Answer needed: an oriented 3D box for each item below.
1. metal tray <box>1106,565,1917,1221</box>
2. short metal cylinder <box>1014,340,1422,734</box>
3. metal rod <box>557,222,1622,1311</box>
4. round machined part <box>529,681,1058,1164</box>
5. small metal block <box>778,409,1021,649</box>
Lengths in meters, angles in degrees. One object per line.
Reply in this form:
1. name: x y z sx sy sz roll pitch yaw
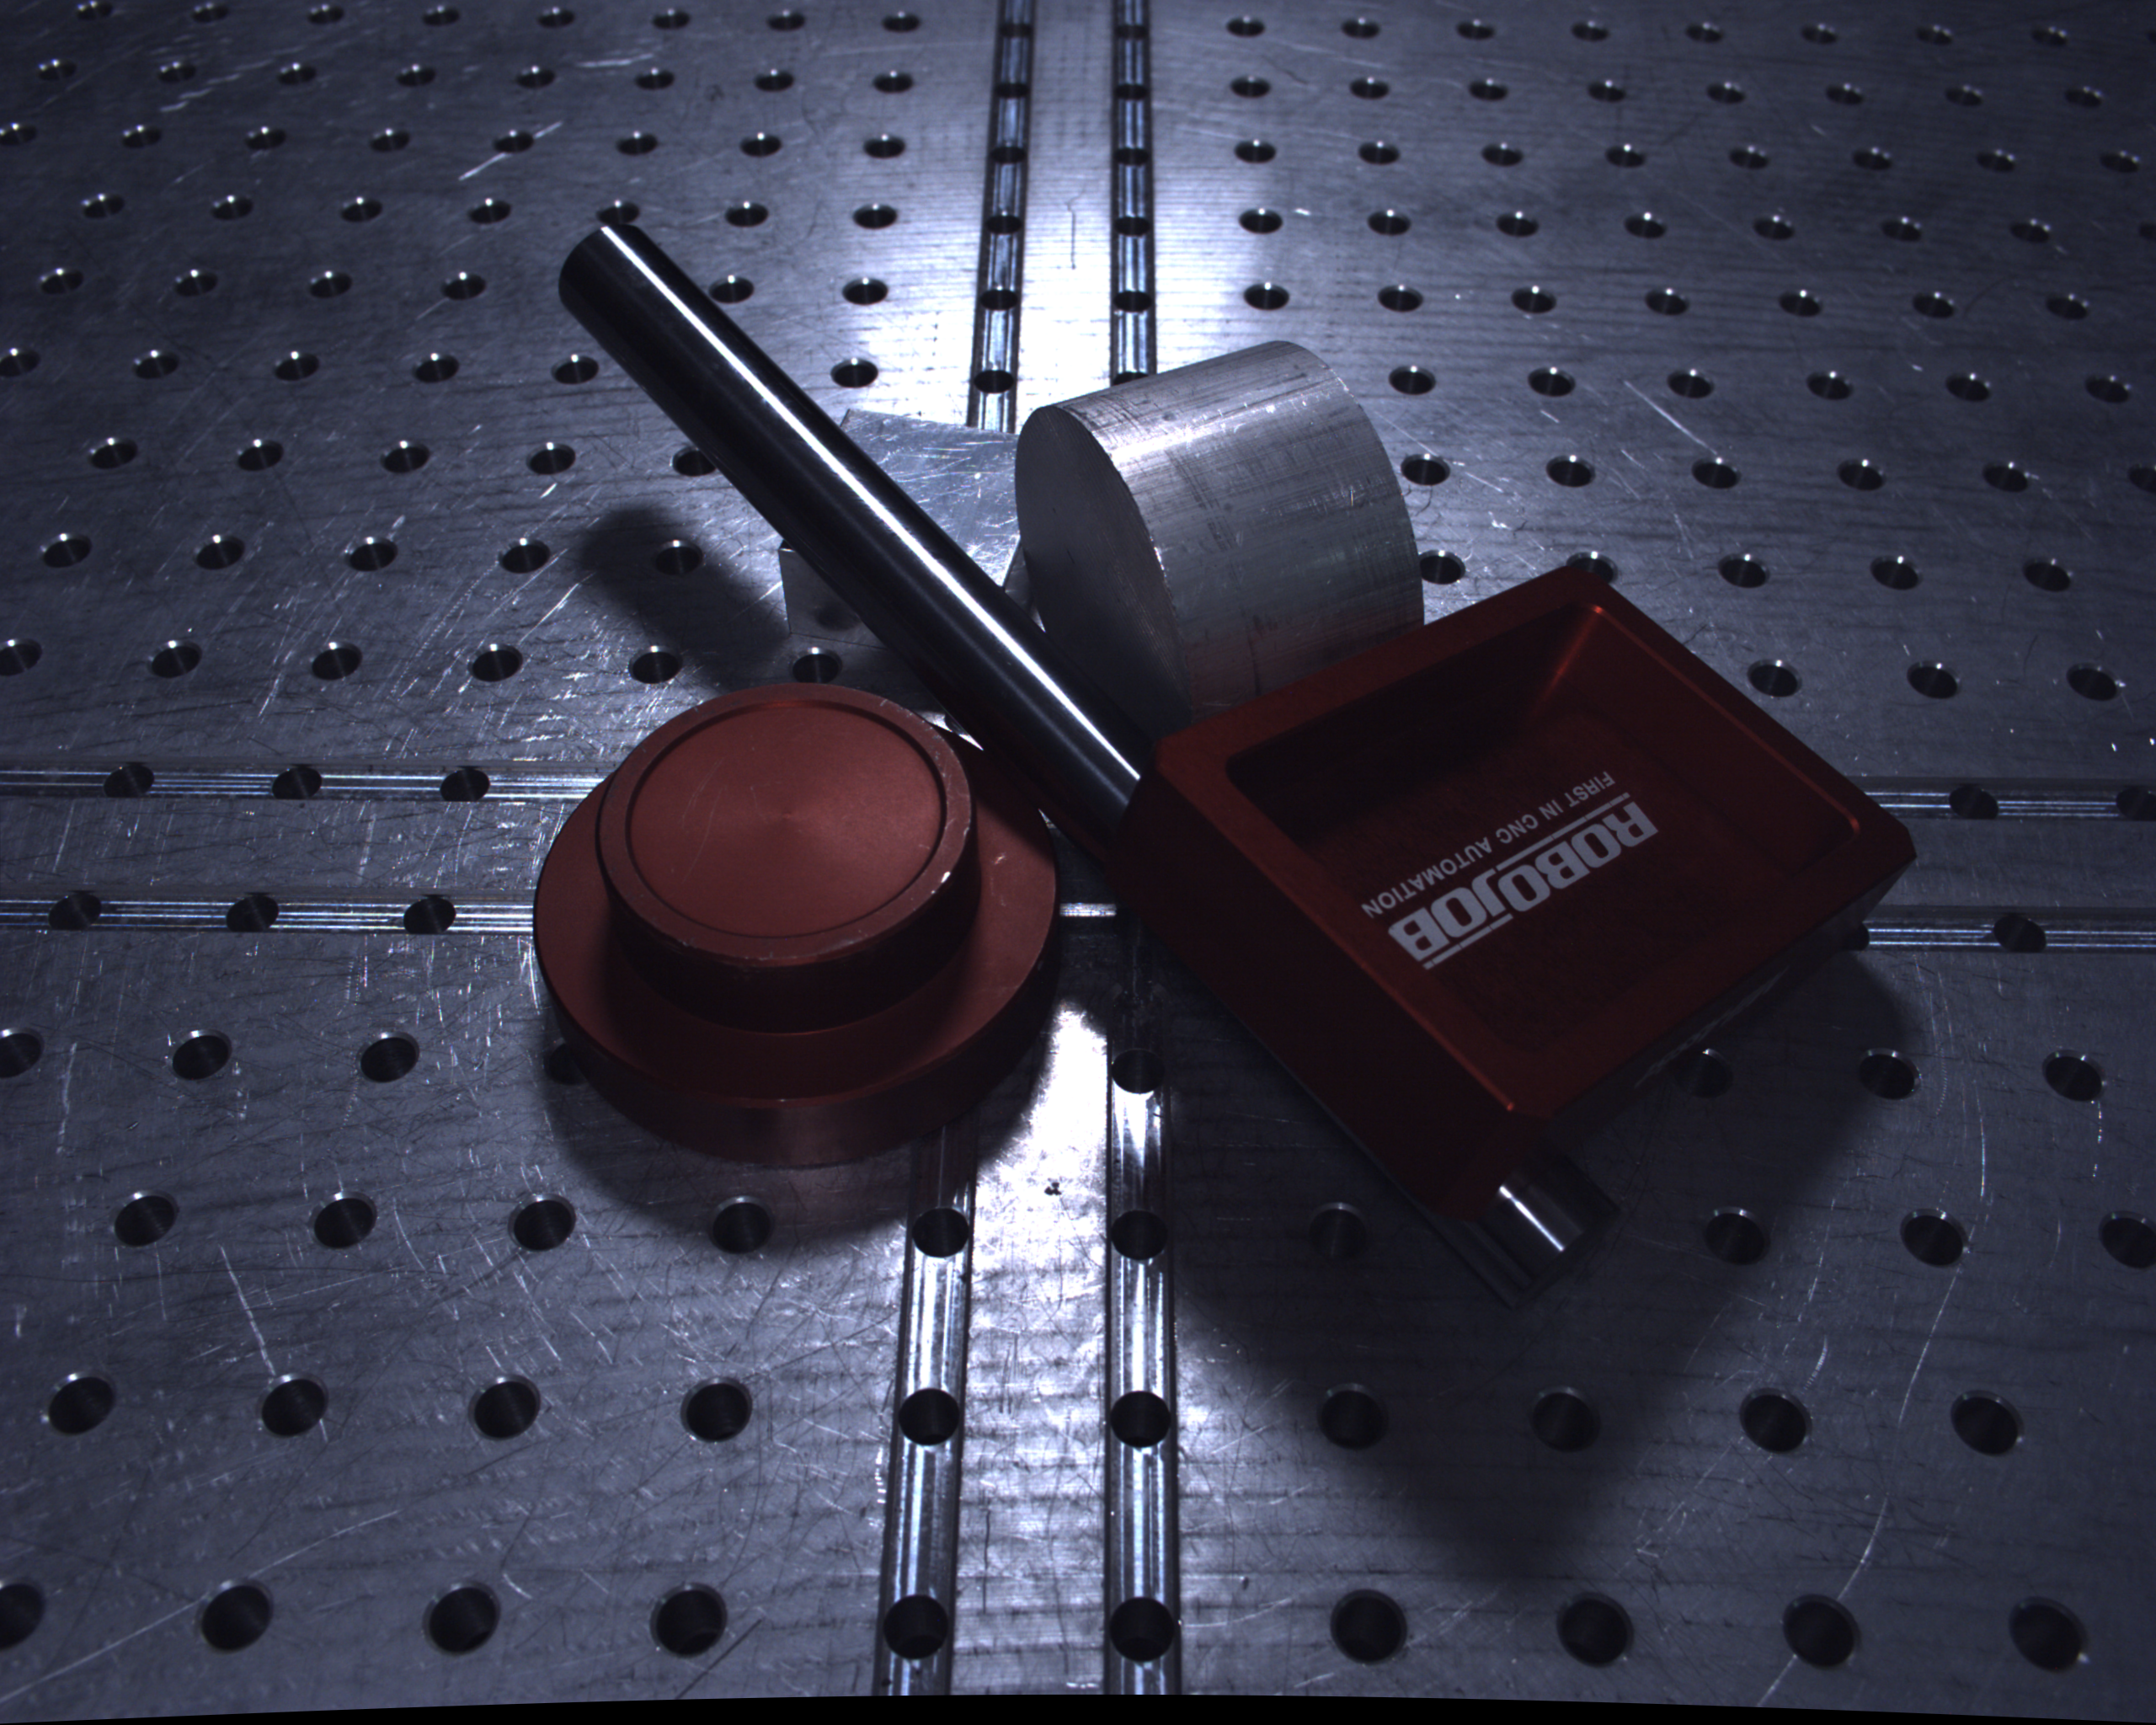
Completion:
1. metal tray: 0.081 -0.001 0.379 0.131 0.030 0.090 -25 61 -39
2. short metal cylinder: 0.026 -0.060 0.422 0.050 0.080 0.080 -20 53 -16
3. metal rod: -0.011 -0.033 0.413 0.025 0.025 0.300 -33 65 -24
4. round machined part: -0.053 0.004 0.391 0.099 0.042 0.098 0 50 0
5. small metal block: -0.034 -0.073 0.469 0.050 0.025 0.050 10 51 8
